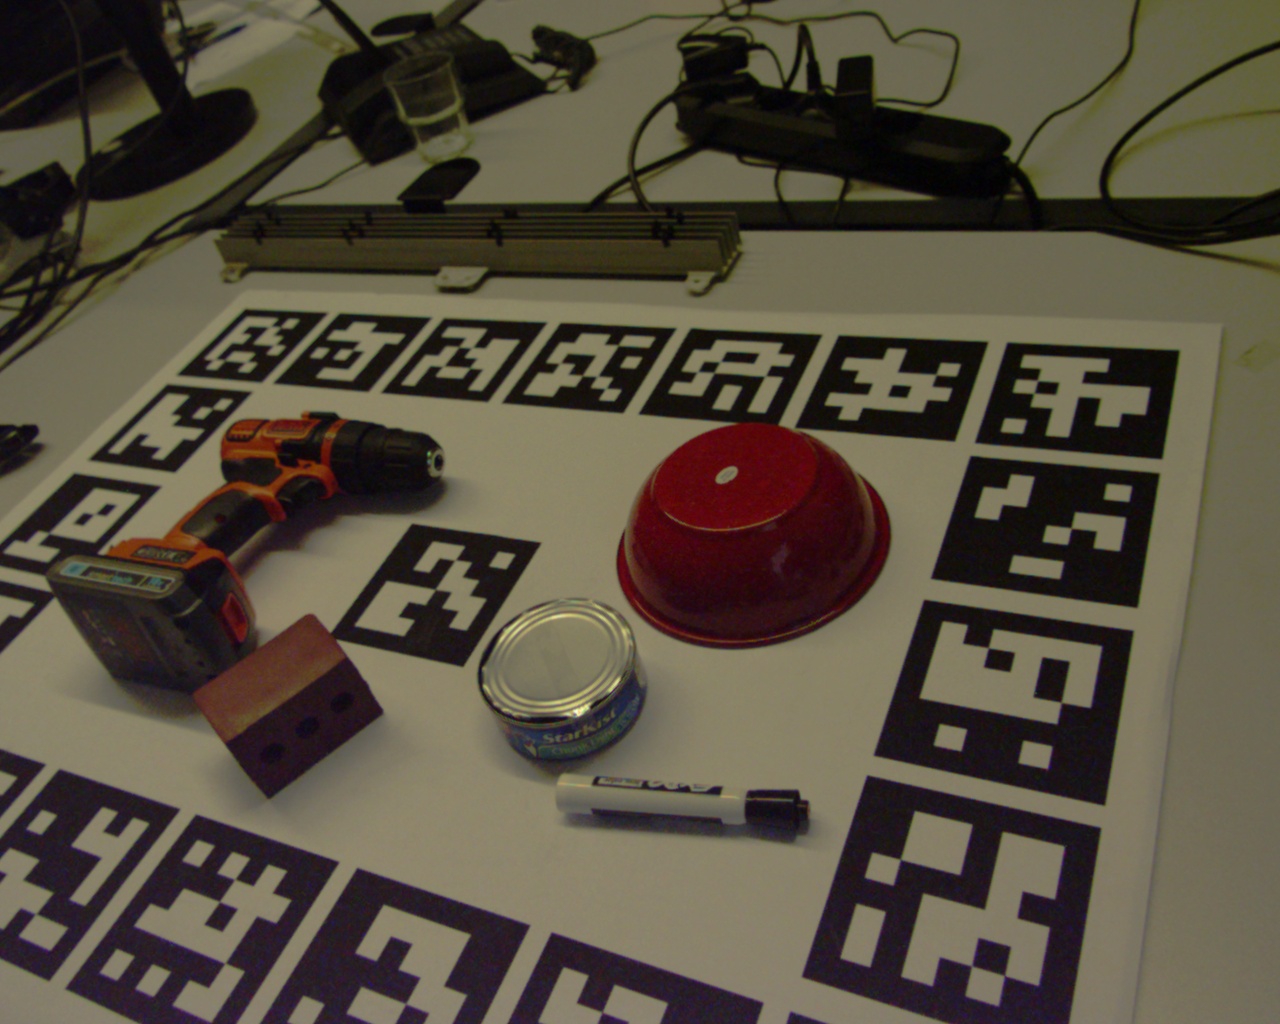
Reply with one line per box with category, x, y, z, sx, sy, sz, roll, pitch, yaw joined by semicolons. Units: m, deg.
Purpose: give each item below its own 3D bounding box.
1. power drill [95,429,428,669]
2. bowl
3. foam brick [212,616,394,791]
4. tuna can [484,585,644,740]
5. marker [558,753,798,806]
power drill;-0.259;0.017;0.777;0.186;0.057;0.186;8;45;22
bowl;0.051;-0.001;0.692;0.162;0.055;0.162;-12;34;7
foam brick;-0.195;0.110;0.660;0.077;0.052;0.052;-41;47;-22
tuna can;-0.042;0.084;0.635;0.086;0.033;0.086;-9;43;8
marker;0.018;0.133;0.569;0.122;0.019;0.019;-1;46;19
